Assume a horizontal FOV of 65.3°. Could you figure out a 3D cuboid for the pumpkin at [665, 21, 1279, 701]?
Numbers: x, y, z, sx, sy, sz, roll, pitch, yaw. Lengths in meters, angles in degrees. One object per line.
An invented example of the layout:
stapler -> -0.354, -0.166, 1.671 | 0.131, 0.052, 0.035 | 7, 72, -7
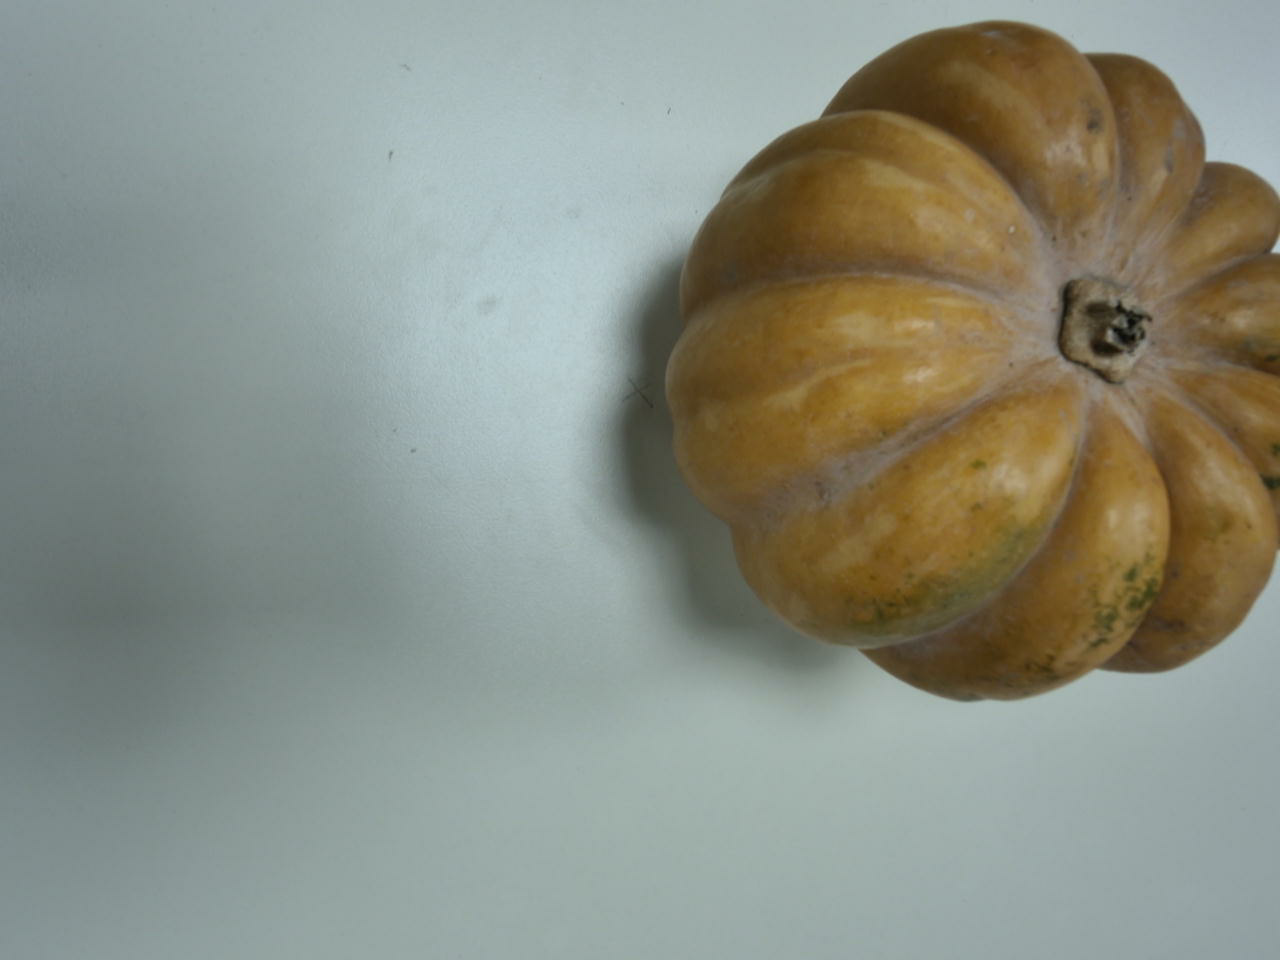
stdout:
pumpkin -> 0.120, -0.035, 0.362 | 0.230, 0.194, 0.230 | 0, 91, -12
